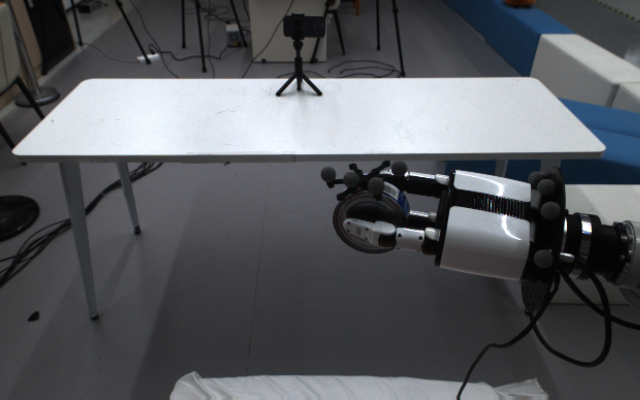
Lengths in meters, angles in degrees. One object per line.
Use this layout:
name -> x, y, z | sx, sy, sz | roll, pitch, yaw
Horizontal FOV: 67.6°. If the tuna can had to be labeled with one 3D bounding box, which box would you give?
tuna can -> 0.062, 0.017, 0.559 | 0.085, 0.085, 0.034 | 10, 33, 11
